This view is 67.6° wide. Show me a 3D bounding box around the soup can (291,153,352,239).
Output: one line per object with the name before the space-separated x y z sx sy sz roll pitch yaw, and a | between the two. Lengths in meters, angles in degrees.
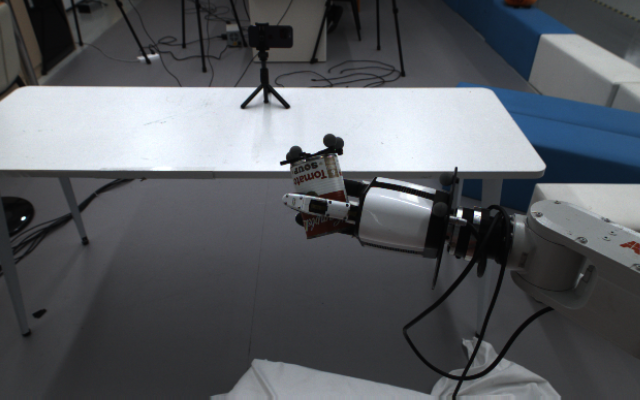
soup can | 0.004 -0.004 0.650 0.067 0.101 0.067 -14 -2 -1
